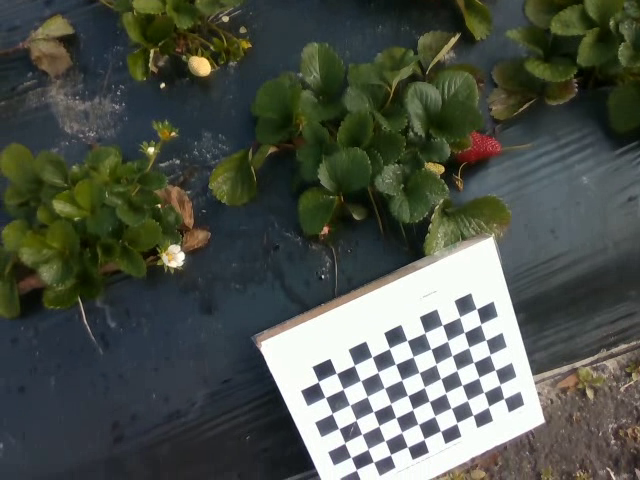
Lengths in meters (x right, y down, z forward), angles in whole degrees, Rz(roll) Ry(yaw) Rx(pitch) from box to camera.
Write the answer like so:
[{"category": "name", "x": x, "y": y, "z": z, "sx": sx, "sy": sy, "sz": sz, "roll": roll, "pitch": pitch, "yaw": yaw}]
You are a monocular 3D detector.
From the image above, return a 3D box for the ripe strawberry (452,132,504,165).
[{"category": "ripe strawberry", "x": 0.178, "y": -0.106, "z": 0.710, "sx": 0.064, "sy": 0.051, "sz": 0.043, "roll": 7, "pitch": 12, "yaw": -16}]
